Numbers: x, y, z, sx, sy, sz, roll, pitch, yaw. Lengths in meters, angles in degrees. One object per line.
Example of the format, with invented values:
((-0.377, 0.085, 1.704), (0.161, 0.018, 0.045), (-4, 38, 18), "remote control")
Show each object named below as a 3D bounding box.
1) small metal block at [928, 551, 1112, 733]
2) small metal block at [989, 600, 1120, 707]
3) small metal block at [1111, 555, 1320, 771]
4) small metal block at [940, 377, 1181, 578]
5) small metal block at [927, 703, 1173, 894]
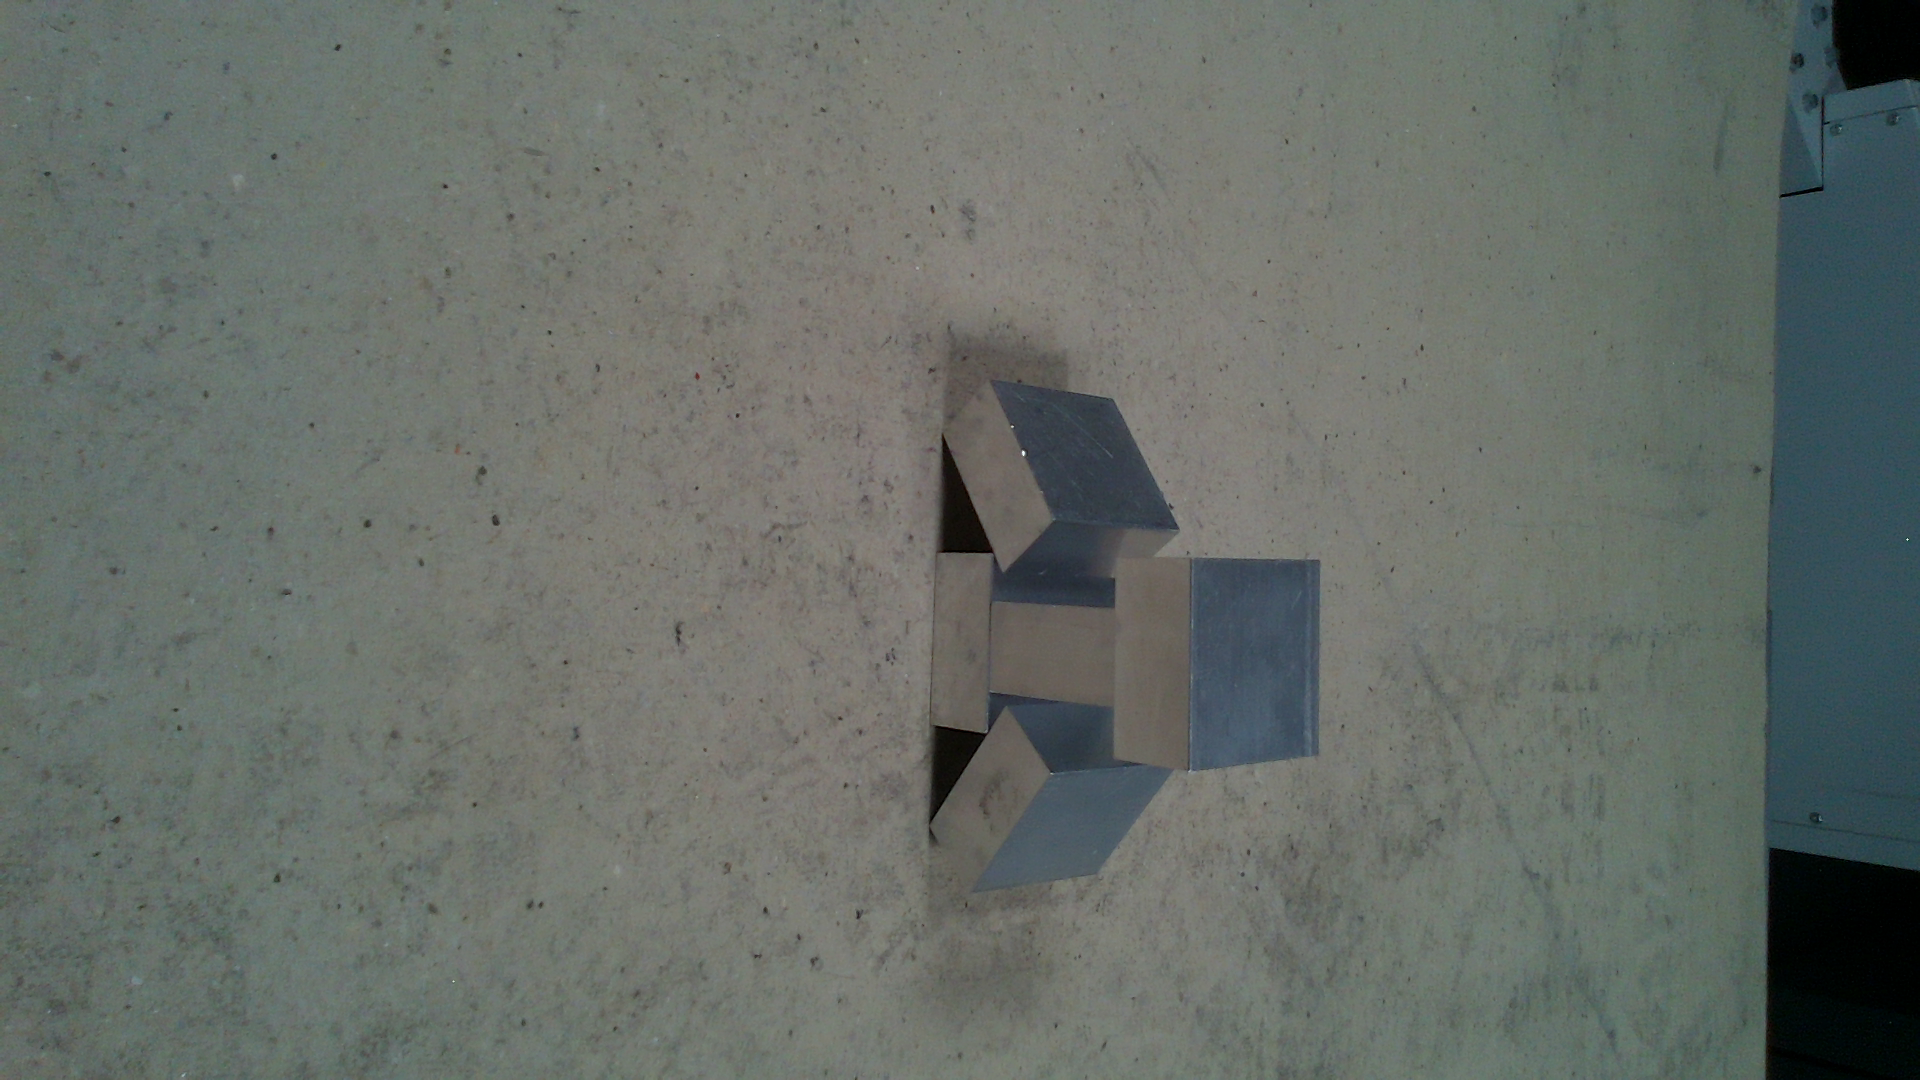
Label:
((0.019, 0.029, 0.406), (0.050, 0.025, 0.050), (3, 88, -40), "small metal block")
((0.043, 0.030, 0.376), (0.050, 0.050, 0.025), (3, 88, -40), "small metal block")
((0.065, 0.029, 0.346), (0.050, 0.025, 0.050), (1, 89, -40), "small metal block")
((0.029, -0.017, 0.397), (0.050, 0.025, 0.050), (3, 52, -39), "small metal block")
((0.026, 0.073, 0.395), (0.050, 0.025, 0.050), (3, 129, -40), "small metal block")
